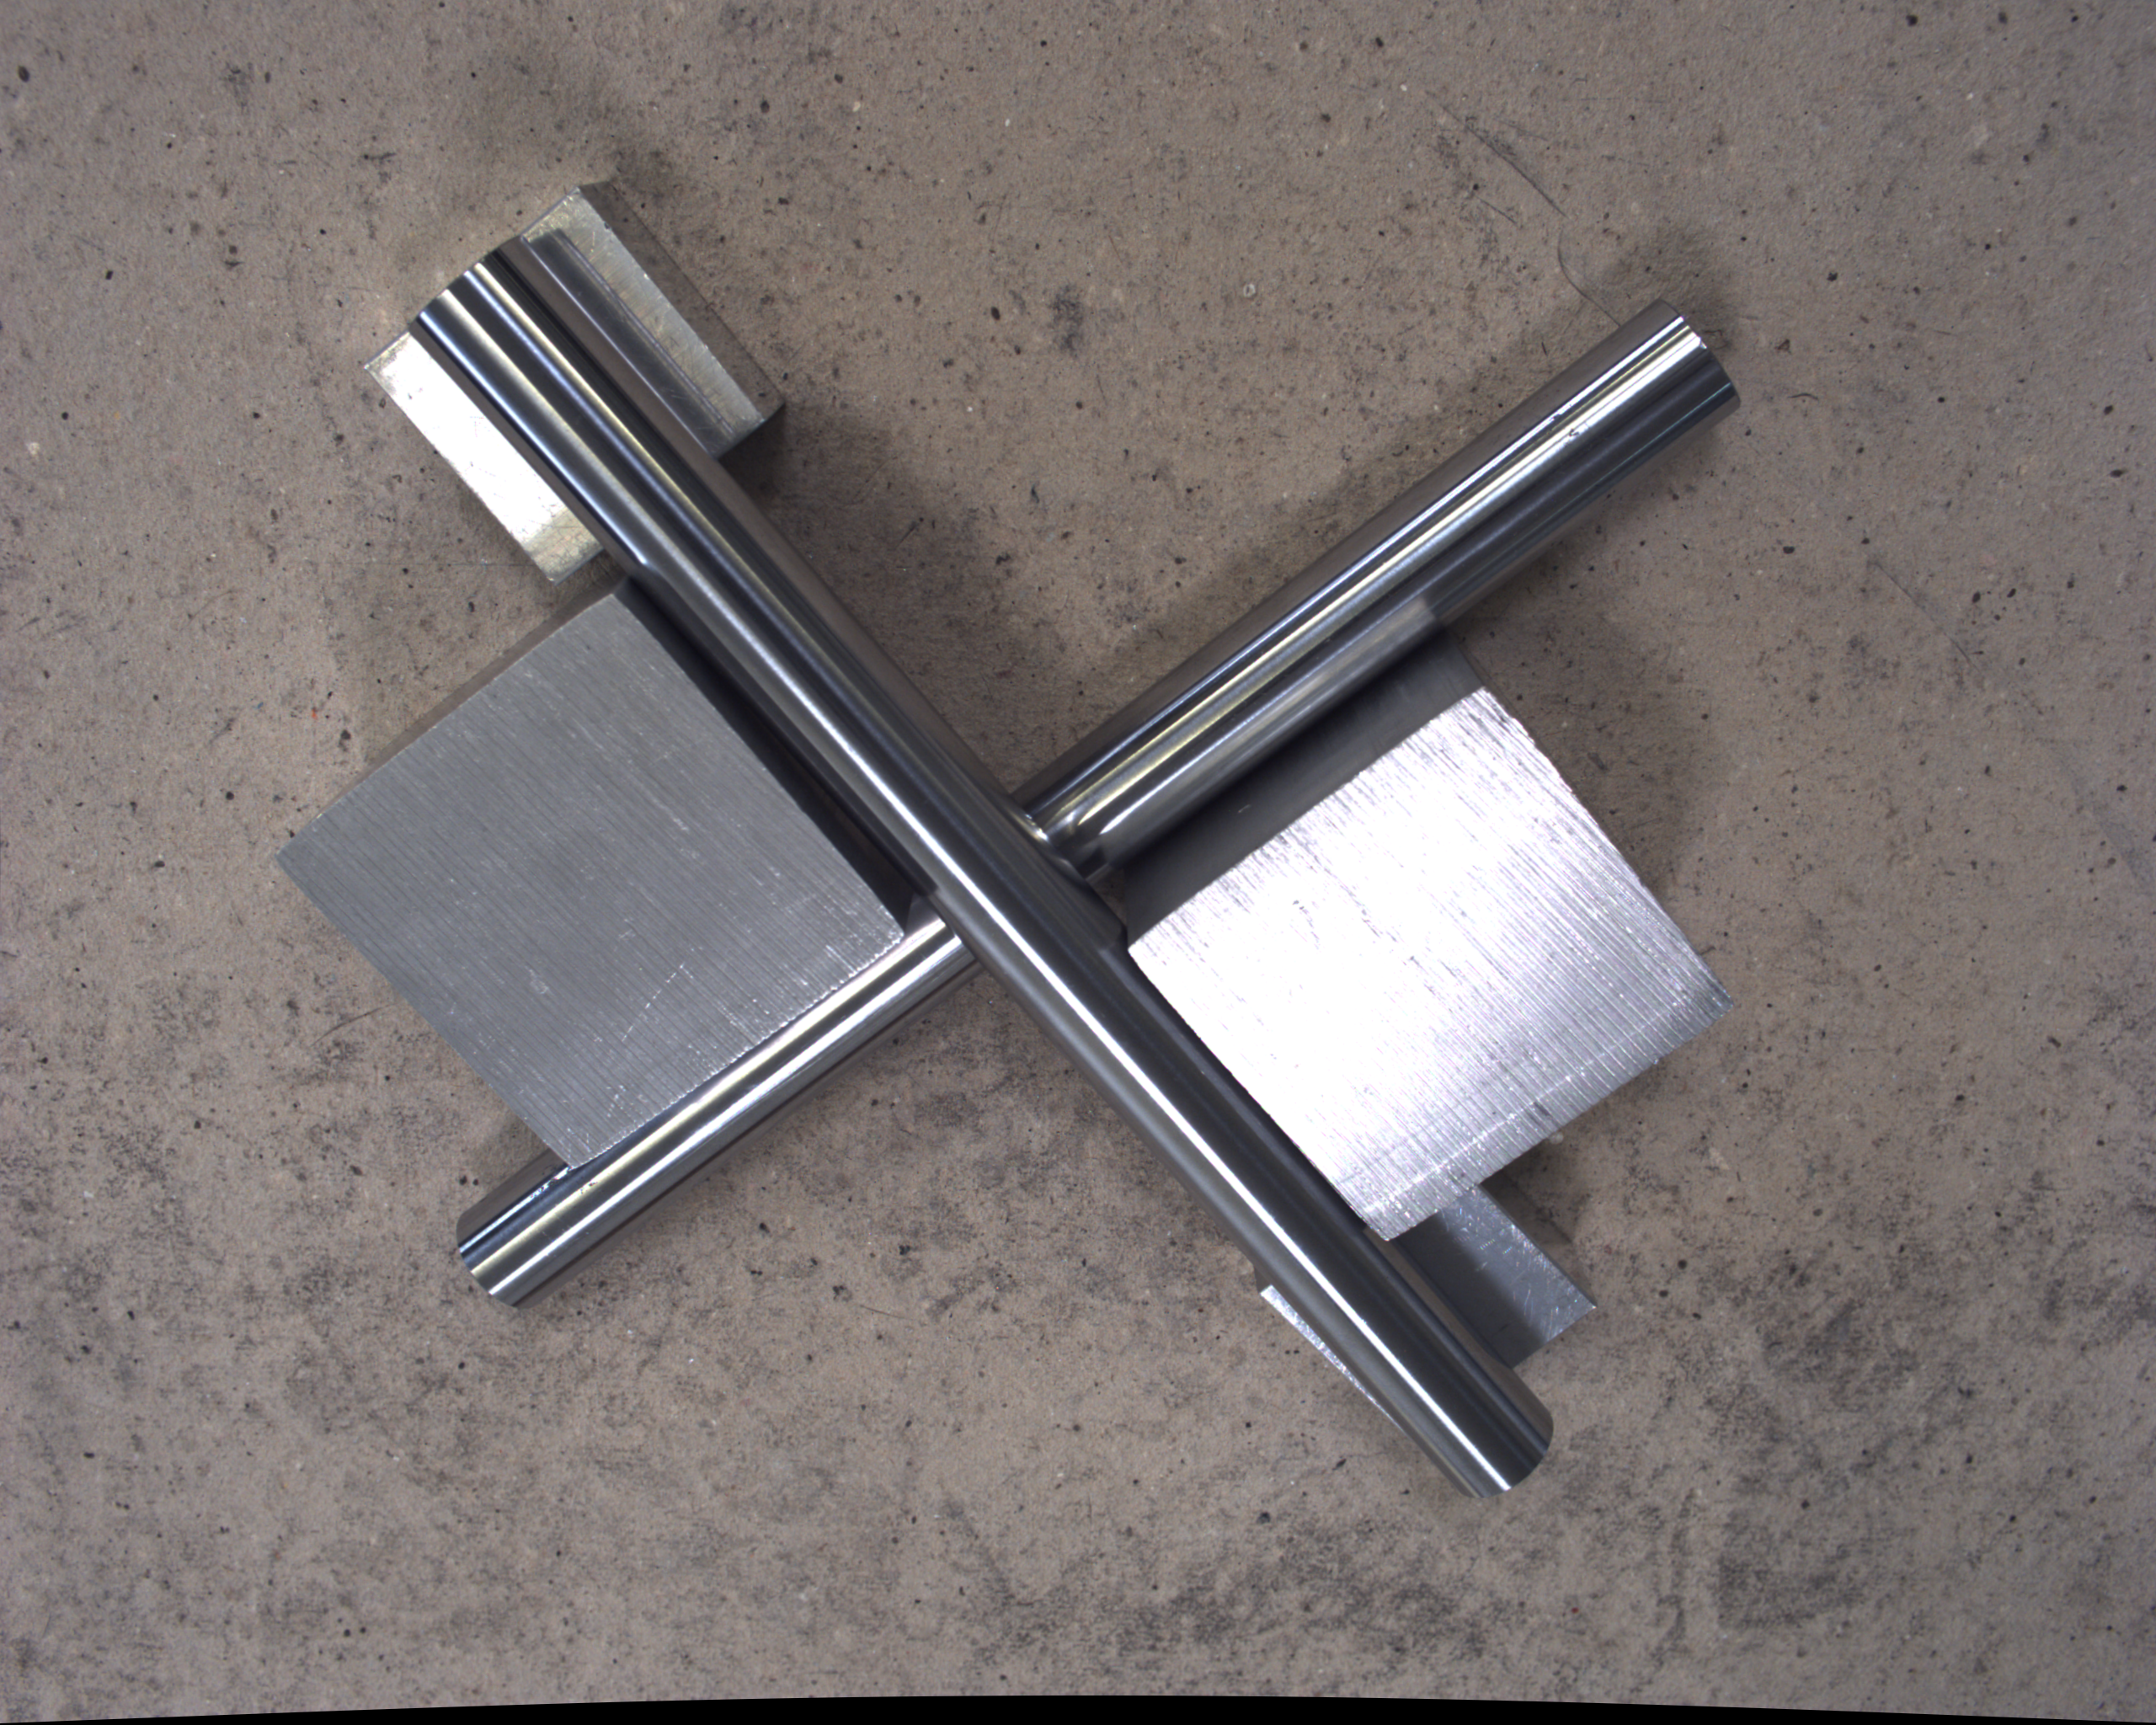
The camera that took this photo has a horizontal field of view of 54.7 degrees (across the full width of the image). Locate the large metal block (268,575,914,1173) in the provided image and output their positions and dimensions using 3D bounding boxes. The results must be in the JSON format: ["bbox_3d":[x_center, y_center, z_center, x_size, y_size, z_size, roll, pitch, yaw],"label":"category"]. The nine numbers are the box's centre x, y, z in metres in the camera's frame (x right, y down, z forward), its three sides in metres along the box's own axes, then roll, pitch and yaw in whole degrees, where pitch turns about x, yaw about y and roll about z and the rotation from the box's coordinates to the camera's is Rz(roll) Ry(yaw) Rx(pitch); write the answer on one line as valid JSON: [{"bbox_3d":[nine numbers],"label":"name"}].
[{"bbox_3d":[-0.086,-0.003,0.394,0.080,0.050,0.080,-35,107,12],"label":"large metal block"}]

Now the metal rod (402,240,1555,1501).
[{"bbox_3d":[-0.008,0.013,0.388,0.025,0.025,0.300,-38,106,12],"label":"metal rod"}]

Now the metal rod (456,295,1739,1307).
[{"bbox_3d":[-0.005,-0.005,0.410,0.300,0.025,0.025,-37,106,12],"label":"metal rod"}]

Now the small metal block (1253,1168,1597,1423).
[{"bbox_3d":[0.072,0.086,0.444,0.050,0.025,0.050,-41,105,13],"label":"small metal block"}]

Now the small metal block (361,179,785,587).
[{"bbox_3d":[-0.090,-0.087,0.379,0.050,0.025,0.050,-36,107,12],"label":"small metal block"}]

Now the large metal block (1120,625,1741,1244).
[{"bbox_3d":[0.065,0.012,0.402,0.080,0.050,0.080,-37,106,12],"label":"large metal block"}]
